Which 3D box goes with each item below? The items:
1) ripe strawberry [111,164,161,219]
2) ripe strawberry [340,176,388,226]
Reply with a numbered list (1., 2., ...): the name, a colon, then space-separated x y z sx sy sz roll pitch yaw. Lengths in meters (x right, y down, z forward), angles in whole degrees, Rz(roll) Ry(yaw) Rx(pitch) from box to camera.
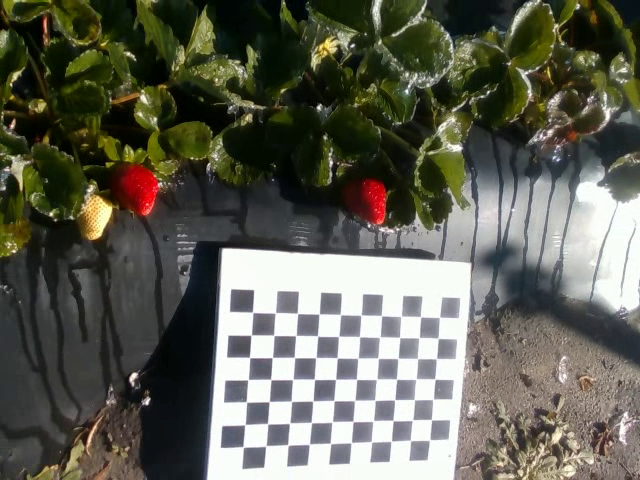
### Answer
1. ripe strawberry: -0.171 -0.041 0.496 0.042 0.061 0.046 -11 -36 -15
2. ripe strawberry: 0.050 -0.040 0.553 0.048 0.061 0.044 -3 -28 -16
